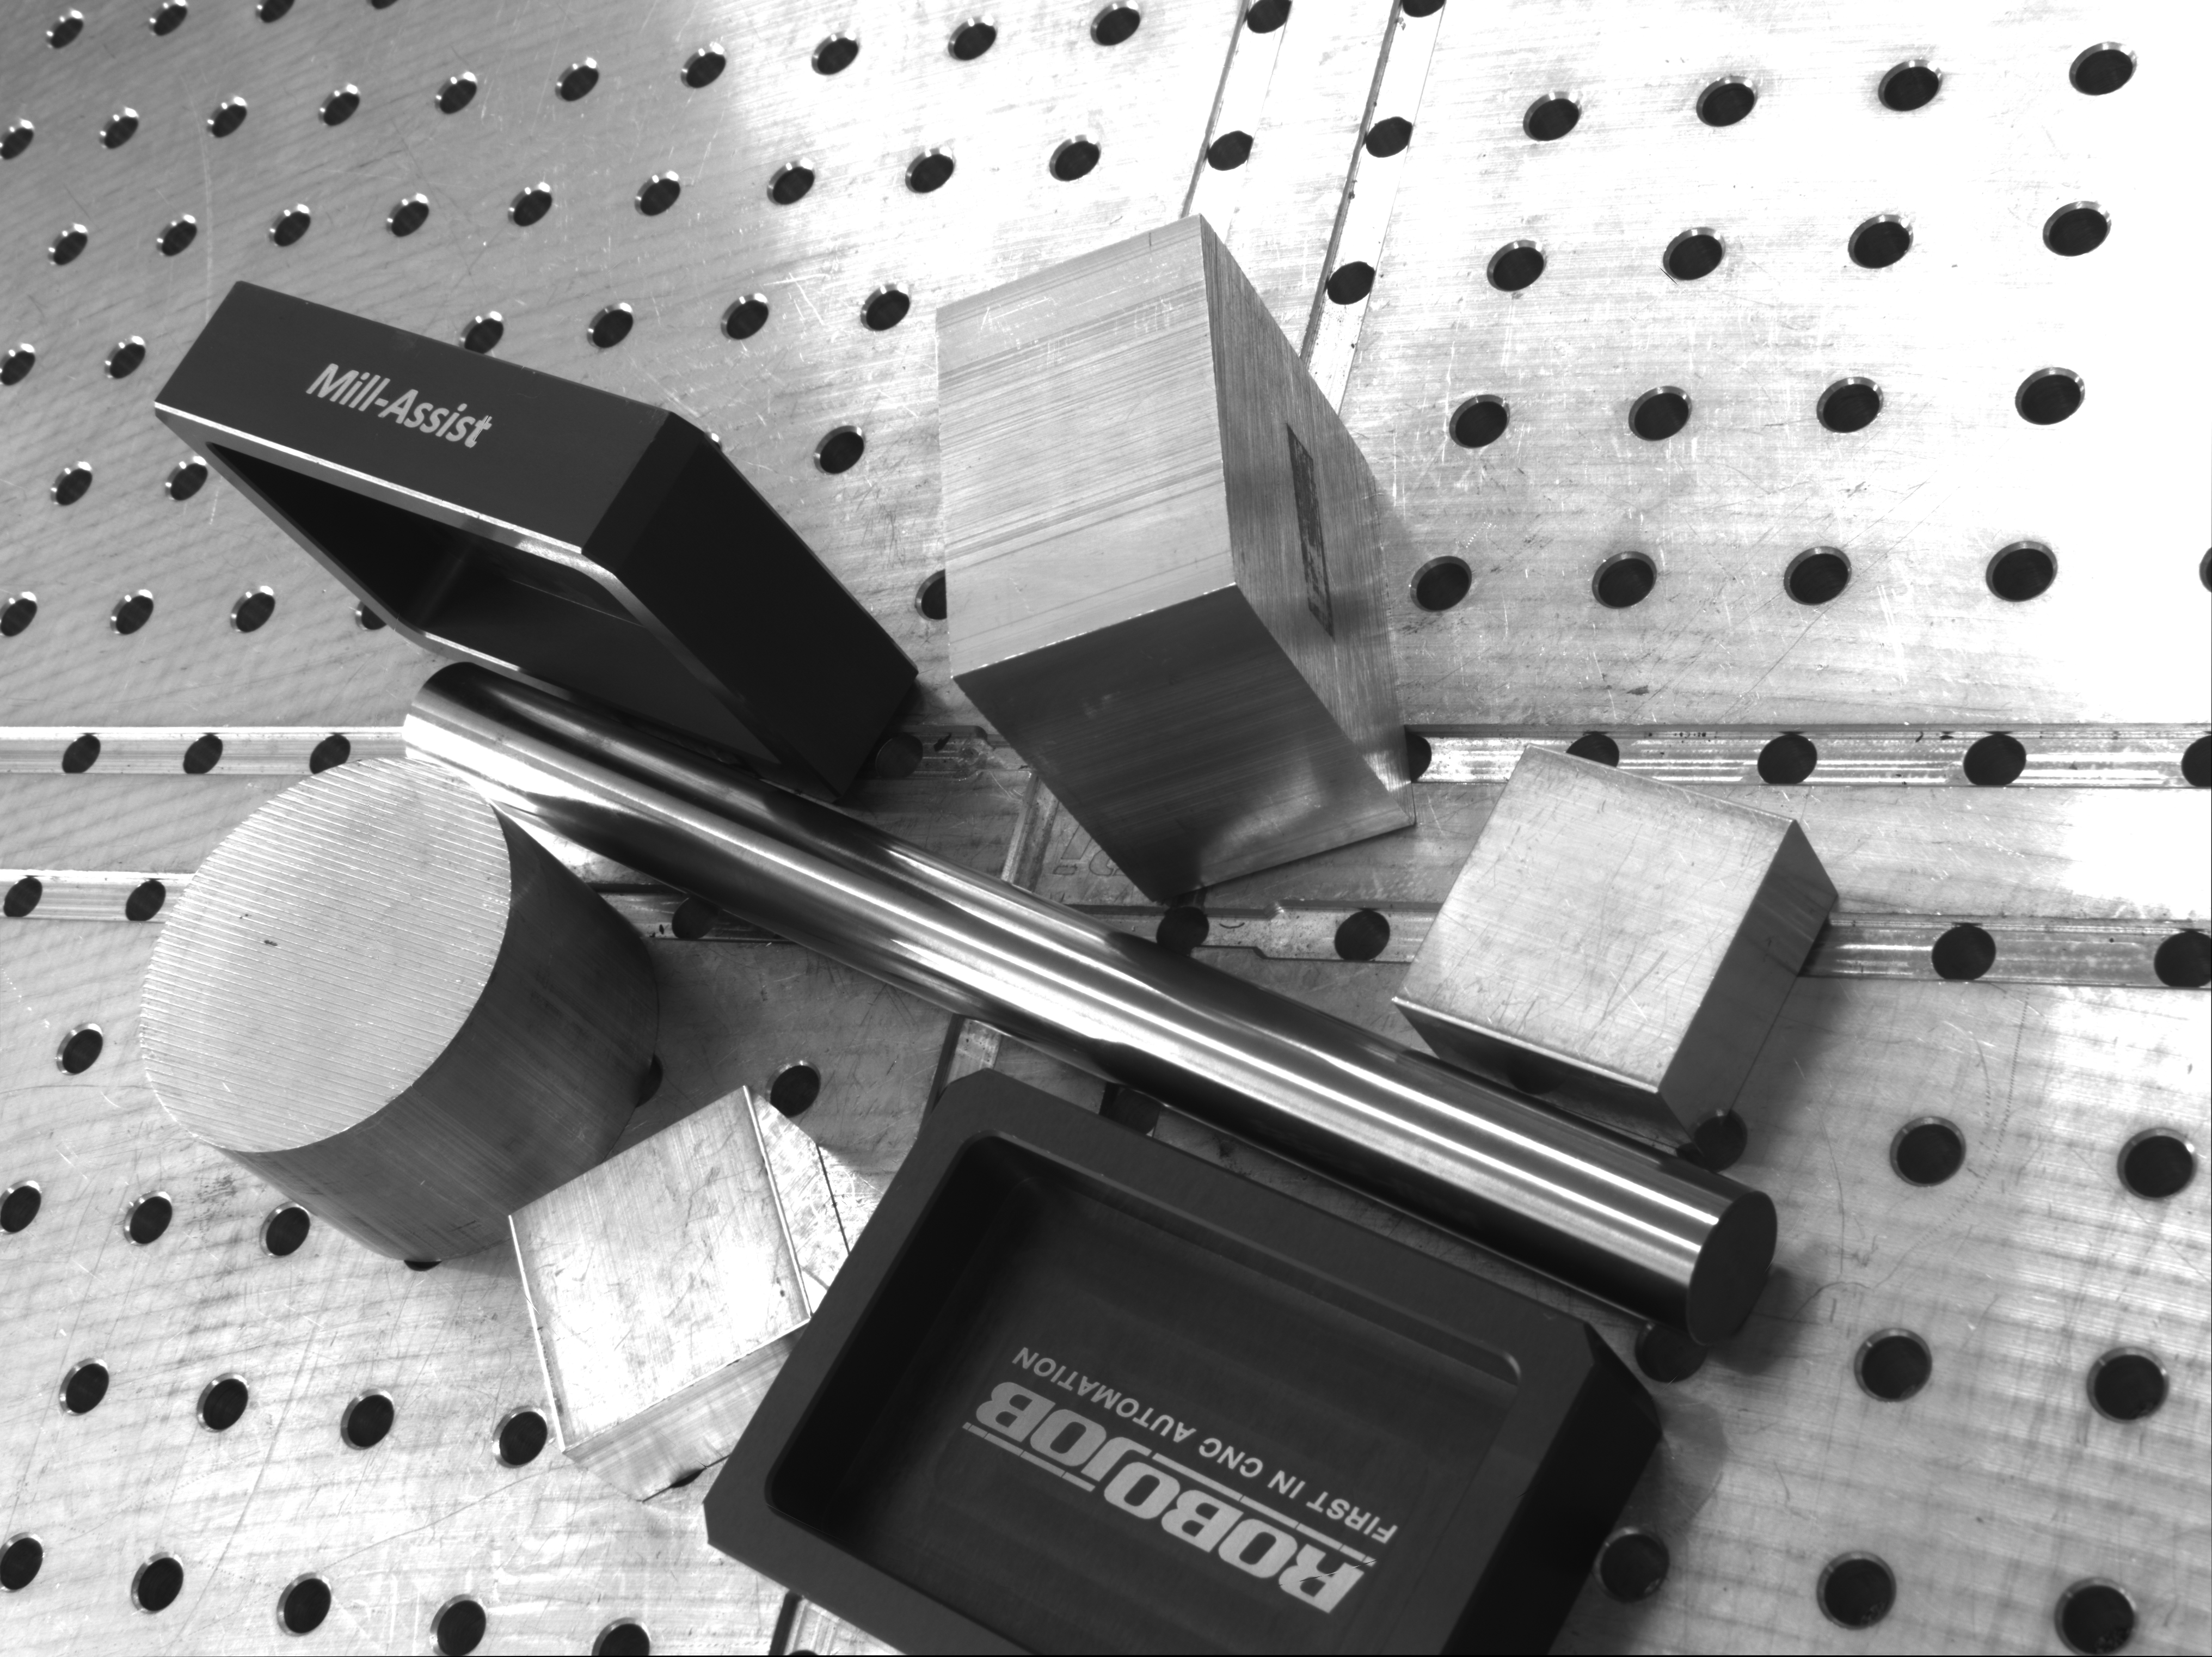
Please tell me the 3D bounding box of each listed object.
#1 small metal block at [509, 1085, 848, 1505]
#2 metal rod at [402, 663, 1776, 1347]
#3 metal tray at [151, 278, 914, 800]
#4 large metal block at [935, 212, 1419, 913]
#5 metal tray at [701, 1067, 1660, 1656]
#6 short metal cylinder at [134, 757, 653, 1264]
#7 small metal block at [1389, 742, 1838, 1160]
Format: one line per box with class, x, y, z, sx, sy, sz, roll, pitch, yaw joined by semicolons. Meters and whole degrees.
small metal block;-0.072;0.081;0.637;0.050;0.025;0.050;-29;52;10
metal rod;-0.018;0.023;0.643;0.299;0.025;0.025;21;73;36
metal tray;-0.109;-0.055;0.697;0.130;0.090;0.030;20;73;36
large metal block;0.012;-0.044;0.635;0.050;0.080;0.080;-17;55;19
metal tray;0.009;0.101;0.577;0.130;0.030;0.090;20;72;36
short metal cylinder;-0.132;0.034;0.681;0.080;0.050;0.080;-14;56;21
small metal block;0.082;0.019;0.591;0.050;0.025;0.050;18;71;35
